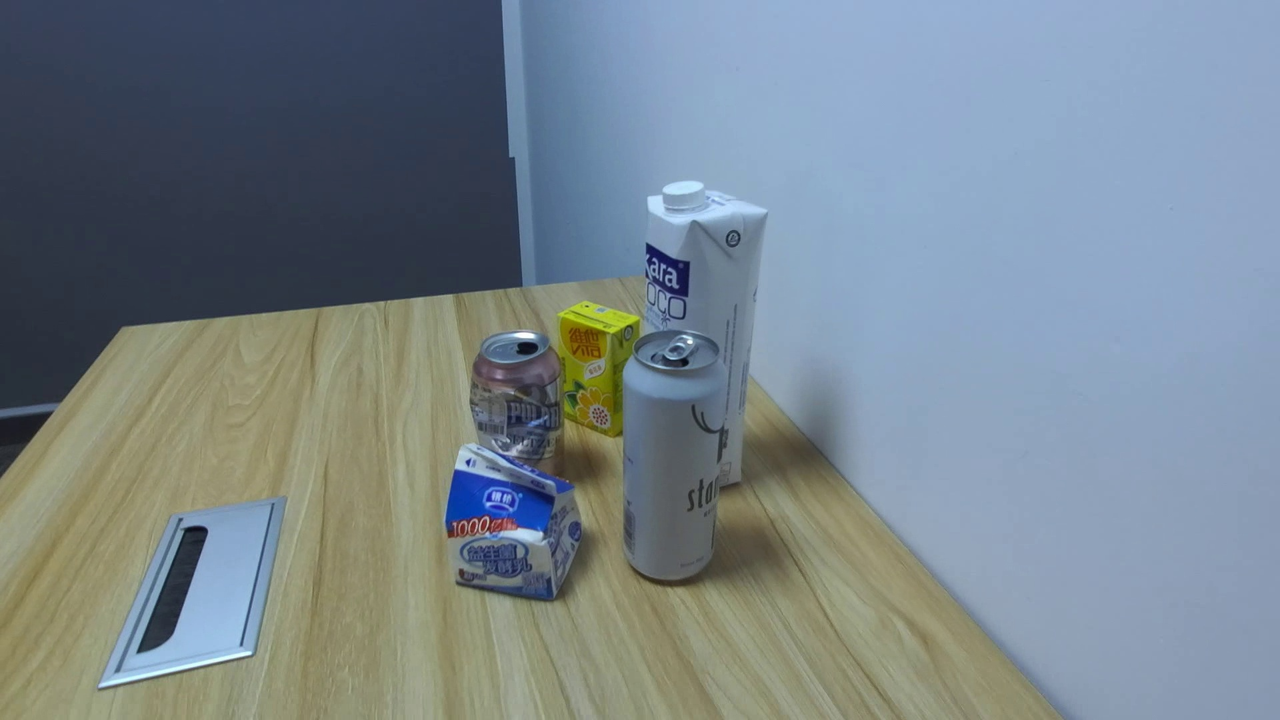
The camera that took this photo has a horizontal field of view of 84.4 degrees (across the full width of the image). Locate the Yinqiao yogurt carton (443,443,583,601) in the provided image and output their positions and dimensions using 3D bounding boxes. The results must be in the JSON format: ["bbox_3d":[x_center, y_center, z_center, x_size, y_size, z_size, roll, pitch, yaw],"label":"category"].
[{"bbox_3d":[-0.089,0.102,0.488,0.083,0.093,0.077,6,27,10],"label":"Yinqiao yogurt carton"}]

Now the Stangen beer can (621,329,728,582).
[{"bbox_3d":[0.022,0.067,0.472,0.067,0.171,0.067,1,28,0],"label":"Stangen beer can"}]

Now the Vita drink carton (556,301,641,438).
[{"bbox_3d":[-0.034,0.009,0.634,0.066,0.109,0.044,19,28,39],"label":"Vita drink carton"}]

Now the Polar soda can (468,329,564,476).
[{"bbox_3d":[-0.095,0.043,0.576,0.067,0.122,0.074,-22,34,-35],"label":"Polar soda can"}]
